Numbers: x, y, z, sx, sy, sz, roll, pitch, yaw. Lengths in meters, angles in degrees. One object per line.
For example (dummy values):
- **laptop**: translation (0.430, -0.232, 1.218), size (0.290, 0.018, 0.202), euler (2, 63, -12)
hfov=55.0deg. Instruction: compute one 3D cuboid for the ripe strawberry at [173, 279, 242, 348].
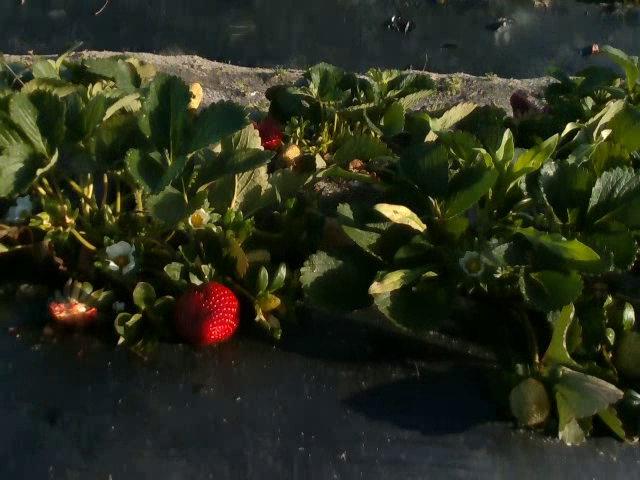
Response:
- **ripe strawberry**: translation (-0.072, 0.050, 0.383), size (0.052, 0.041, 0.051), euler (-20, 15, -5)
